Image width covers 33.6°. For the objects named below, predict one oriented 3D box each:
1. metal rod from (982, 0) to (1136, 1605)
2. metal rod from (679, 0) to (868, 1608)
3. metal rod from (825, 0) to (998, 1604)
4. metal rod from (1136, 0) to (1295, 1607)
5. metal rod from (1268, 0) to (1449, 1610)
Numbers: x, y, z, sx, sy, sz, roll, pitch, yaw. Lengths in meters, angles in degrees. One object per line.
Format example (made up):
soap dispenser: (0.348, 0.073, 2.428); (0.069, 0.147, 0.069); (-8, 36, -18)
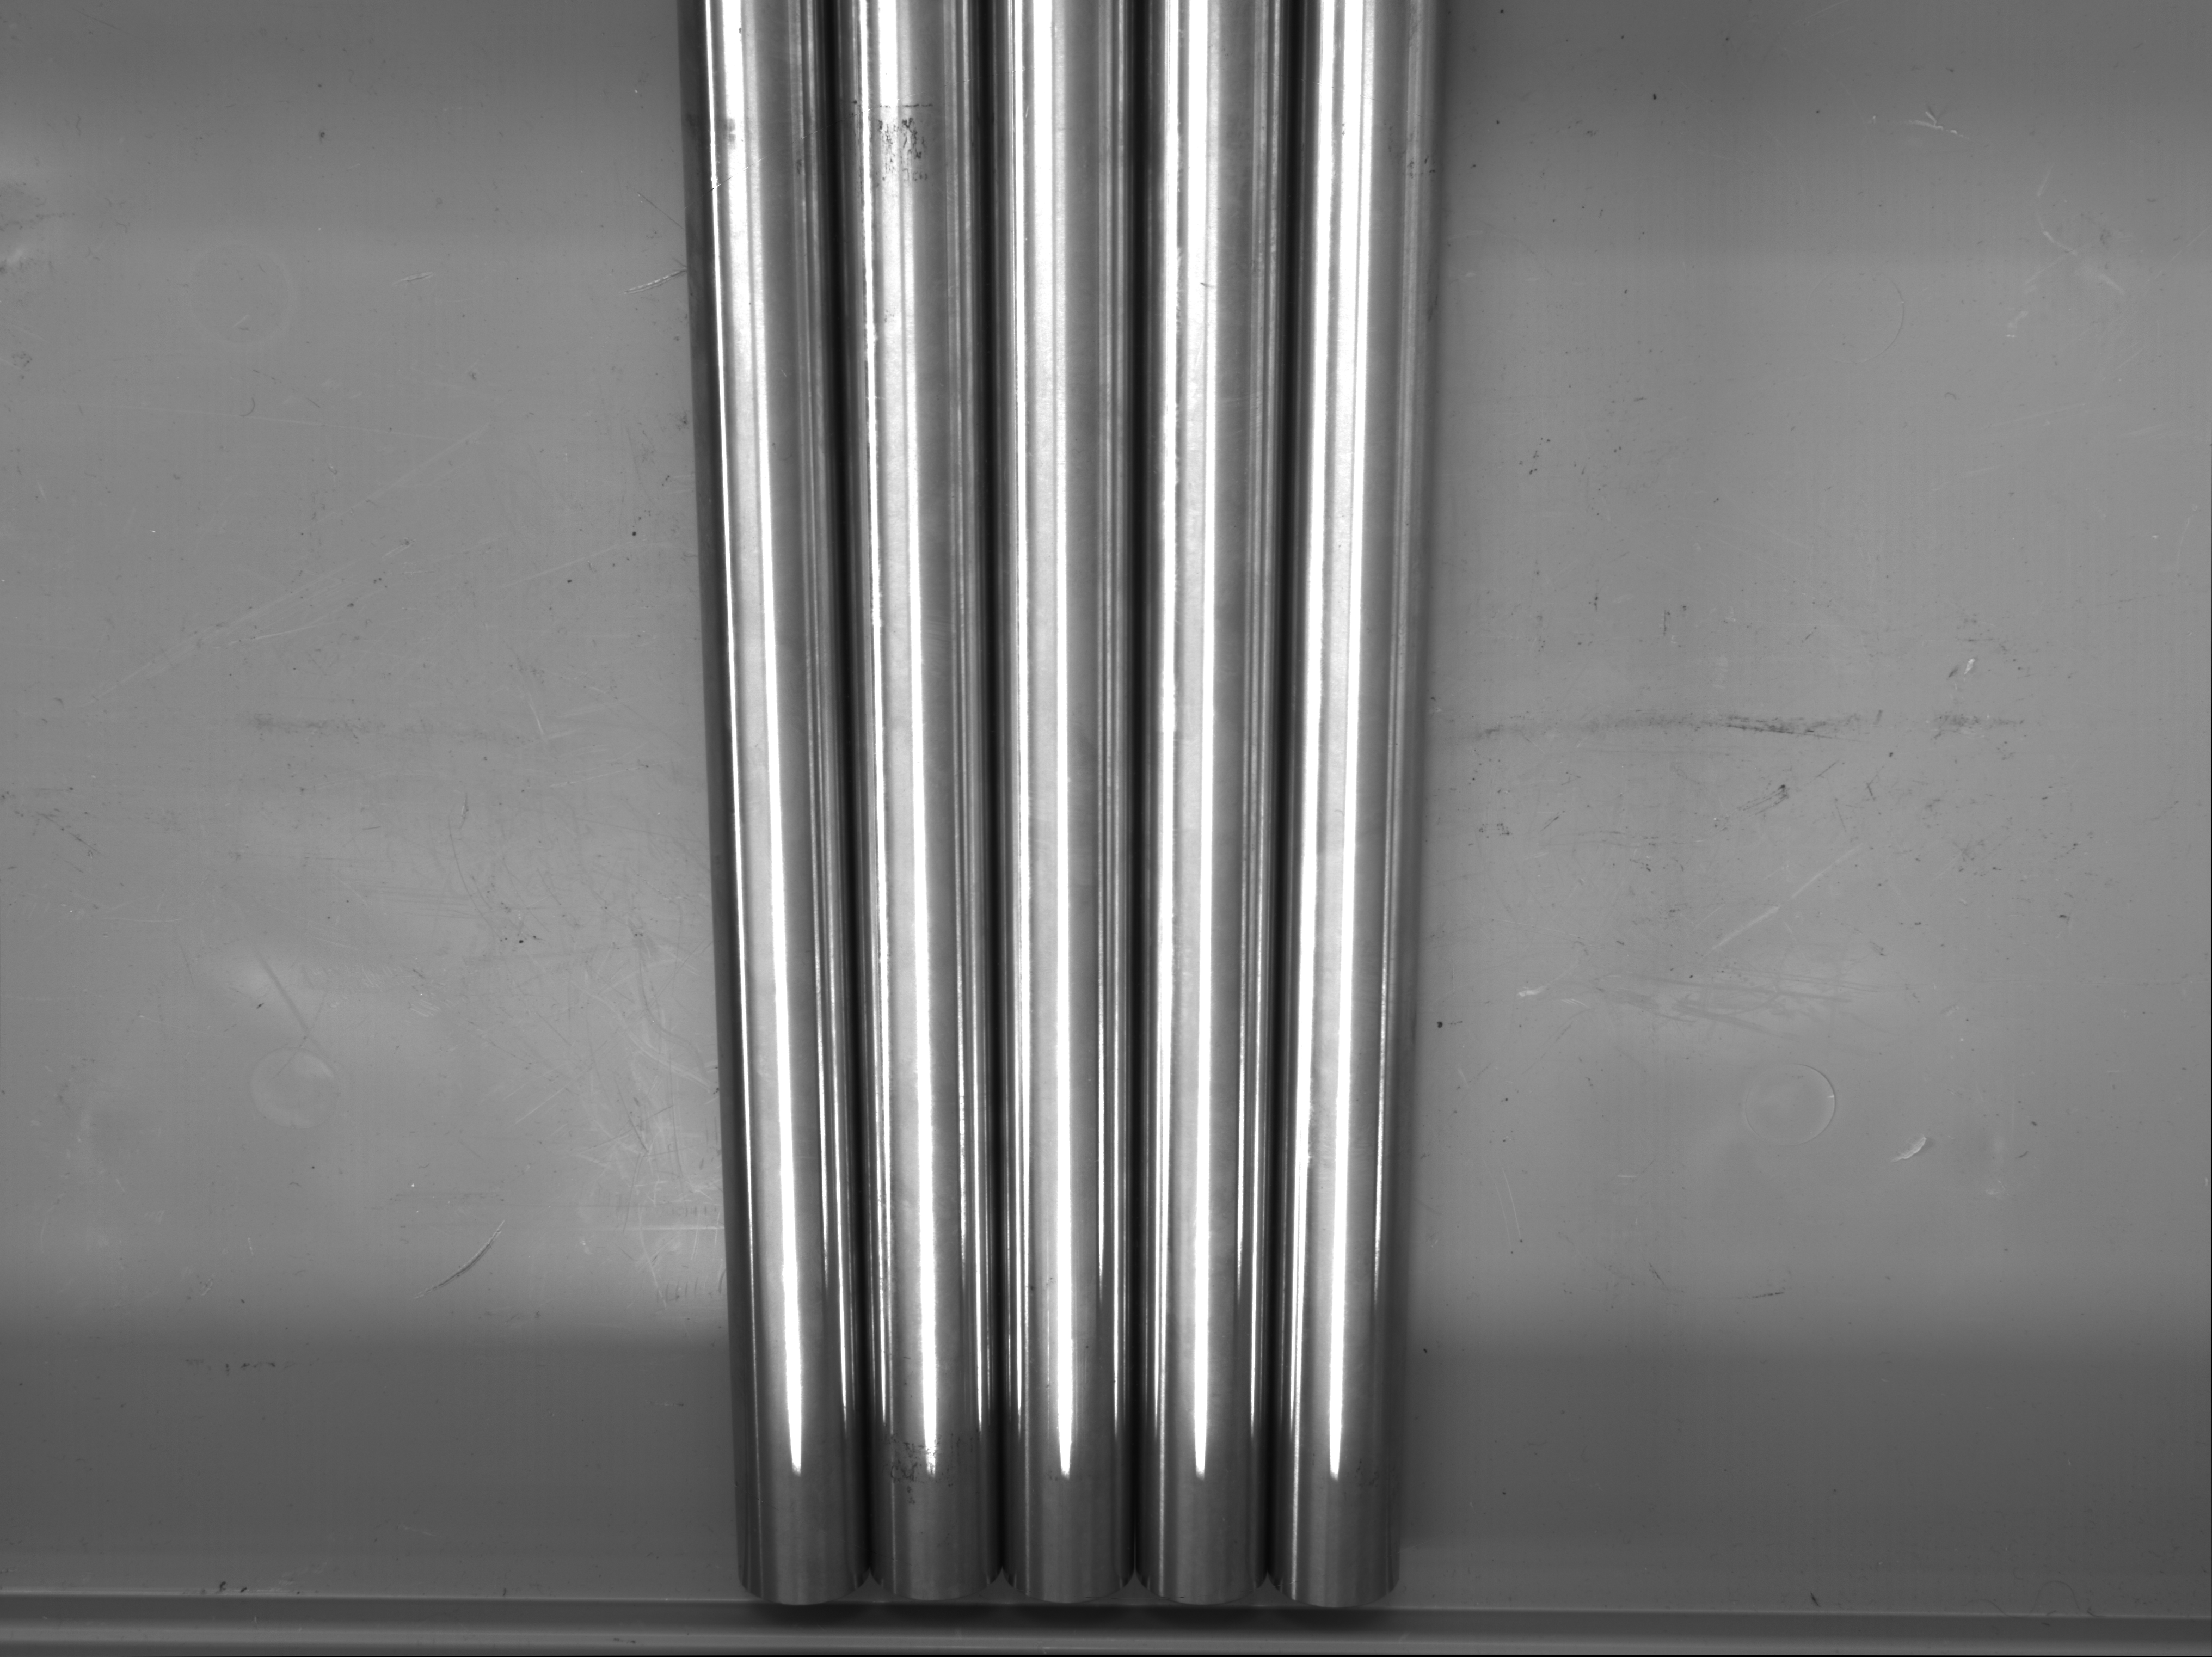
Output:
metal rod: (-0.008, -0.001, 0.642); (0.025, 0.025, 0.300); (0, 110, 0)
metal rod: (-0.057, 0.000, 0.642); (0.025, 0.025, 0.300); (0, 110, 0)
metal rod: (-0.033, -0.001, 0.642); (0.025, 0.025, 0.300); (0, 110, 0)
metal rod: (0.018, 0.000, 0.642); (0.025, 0.025, 0.300); (0, 110, 0)
metal rod: (0.043, 0.000, 0.643); (0.025, 0.025, 0.300); (0, 110, 0)
